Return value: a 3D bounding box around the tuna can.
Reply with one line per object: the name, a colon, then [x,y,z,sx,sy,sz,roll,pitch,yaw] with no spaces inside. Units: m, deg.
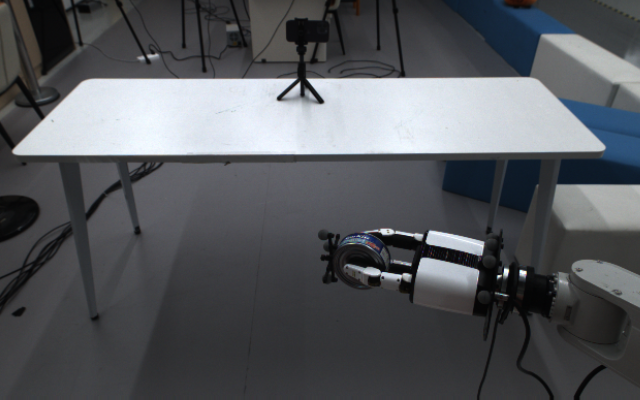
tuna can: [0.066,0.096,0.737,0.085,0.085,0.034,12,28,14]
